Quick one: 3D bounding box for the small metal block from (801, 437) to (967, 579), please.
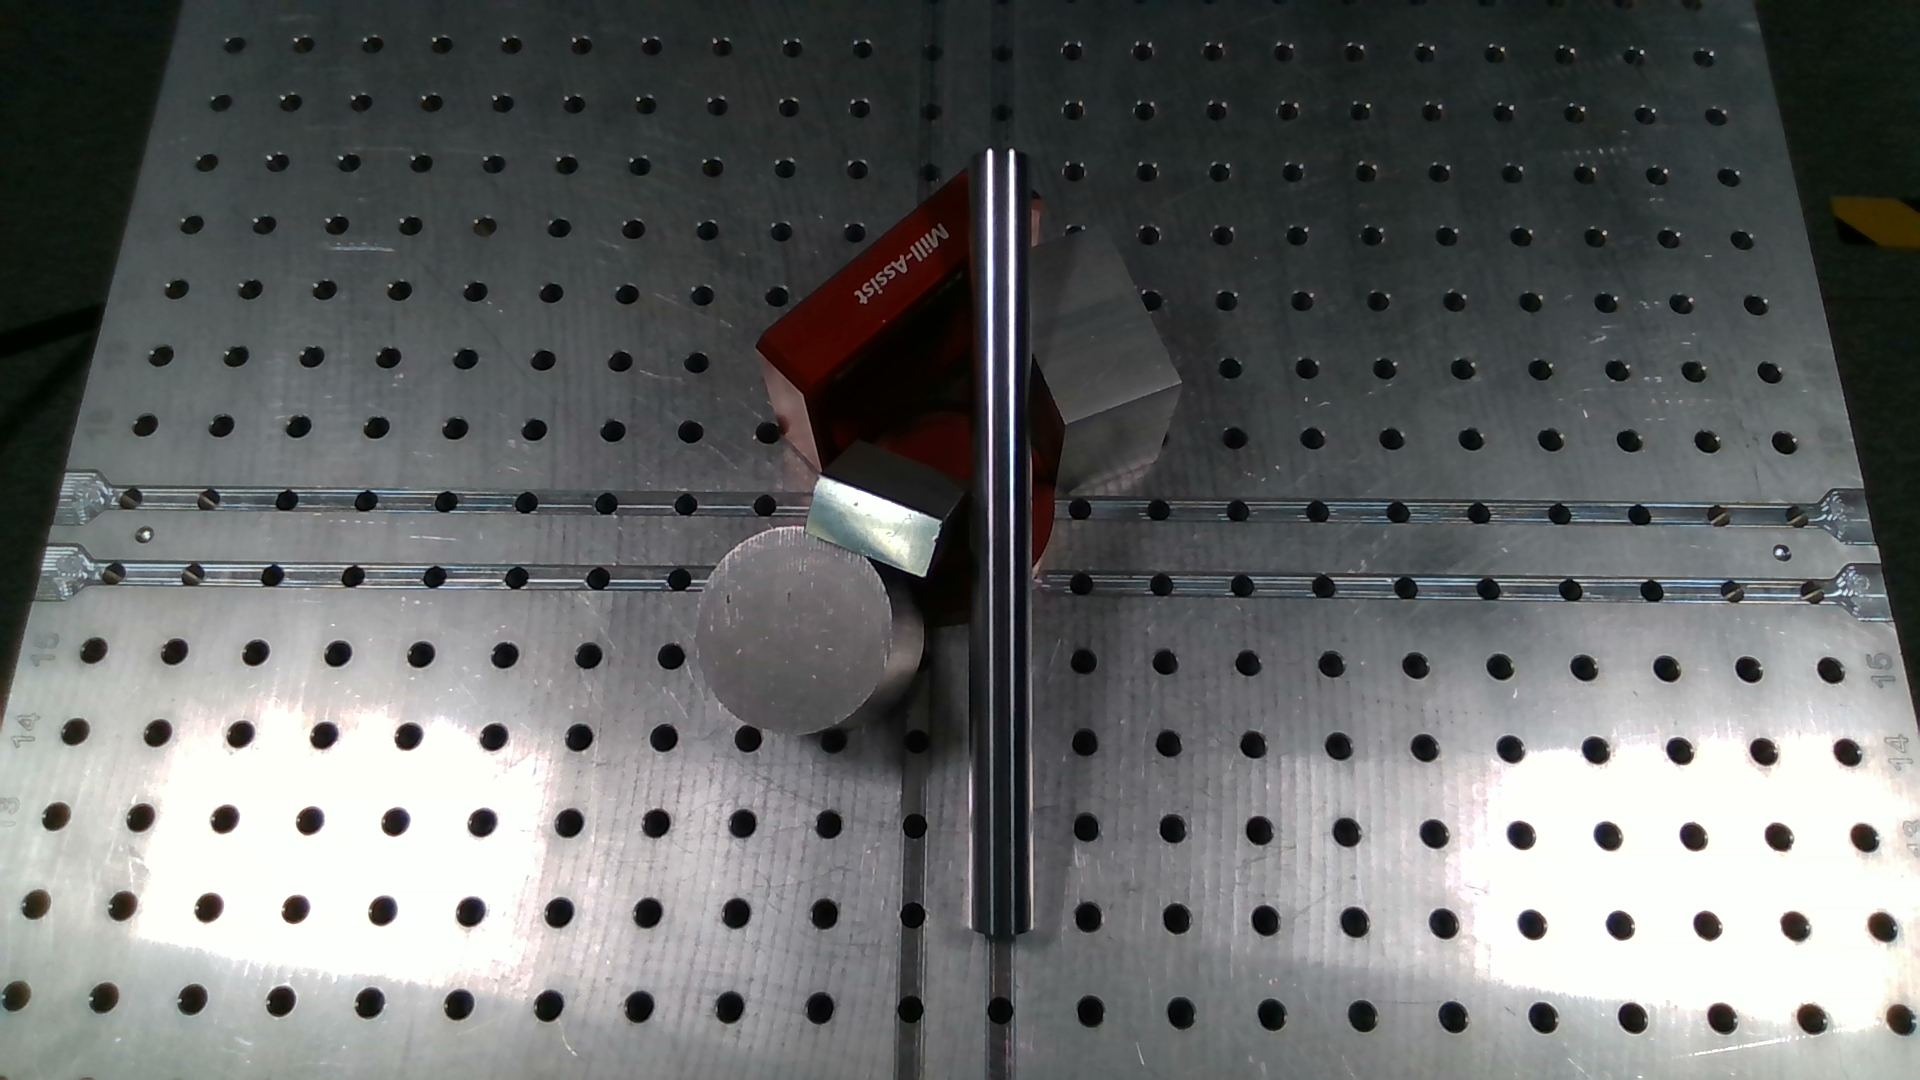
[{"bbox_3d":[-0.028,-0.014,0.536,0.050,0.050,0.025,21,113,5],"label":"small metal block"}]

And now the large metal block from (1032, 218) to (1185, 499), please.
[{"bbox_3d":[0.050,-0.075,0.587,0.050,0.080,0.080,-20,71,-7],"label":"large metal block"}]

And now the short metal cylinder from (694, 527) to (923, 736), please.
[{"bbox_3d":[-0.059,0.037,0.551,0.080,0.050,0.080,-1,85,12],"label":"short metal cylinder"}]

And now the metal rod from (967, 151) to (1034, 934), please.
[{"bbox_3d":[0.016,0.001,0.540,0.025,0.025,0.300,0,90,0],"label":"metal rod"}]

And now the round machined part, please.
[{"bbox_3d":[-0.009,-0.015,0.590,0.098,0.042,0.098,0,70,0],"label":"round machined part"}]

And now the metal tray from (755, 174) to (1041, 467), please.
[{"bbox_3d":[-0.023,-0.095,0.589,0.130,0.090,0.030,-42,75,-13],"label":"metal tray"}]
